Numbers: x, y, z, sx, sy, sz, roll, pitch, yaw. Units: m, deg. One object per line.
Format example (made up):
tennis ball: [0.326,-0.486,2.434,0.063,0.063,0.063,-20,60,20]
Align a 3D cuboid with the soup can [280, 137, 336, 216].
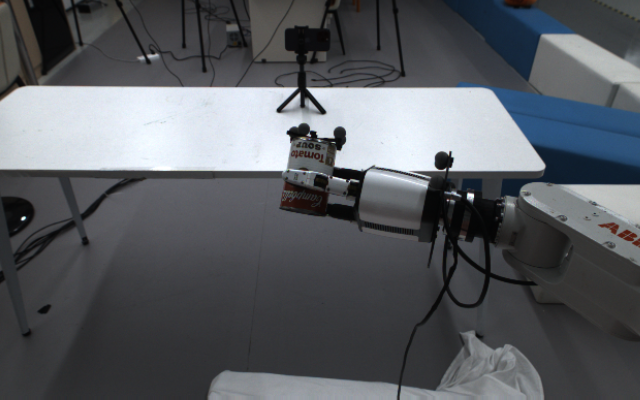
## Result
soup can: [-0.016,-0.032,0.688,0.067,0.101,0.067,9,-5,1]
